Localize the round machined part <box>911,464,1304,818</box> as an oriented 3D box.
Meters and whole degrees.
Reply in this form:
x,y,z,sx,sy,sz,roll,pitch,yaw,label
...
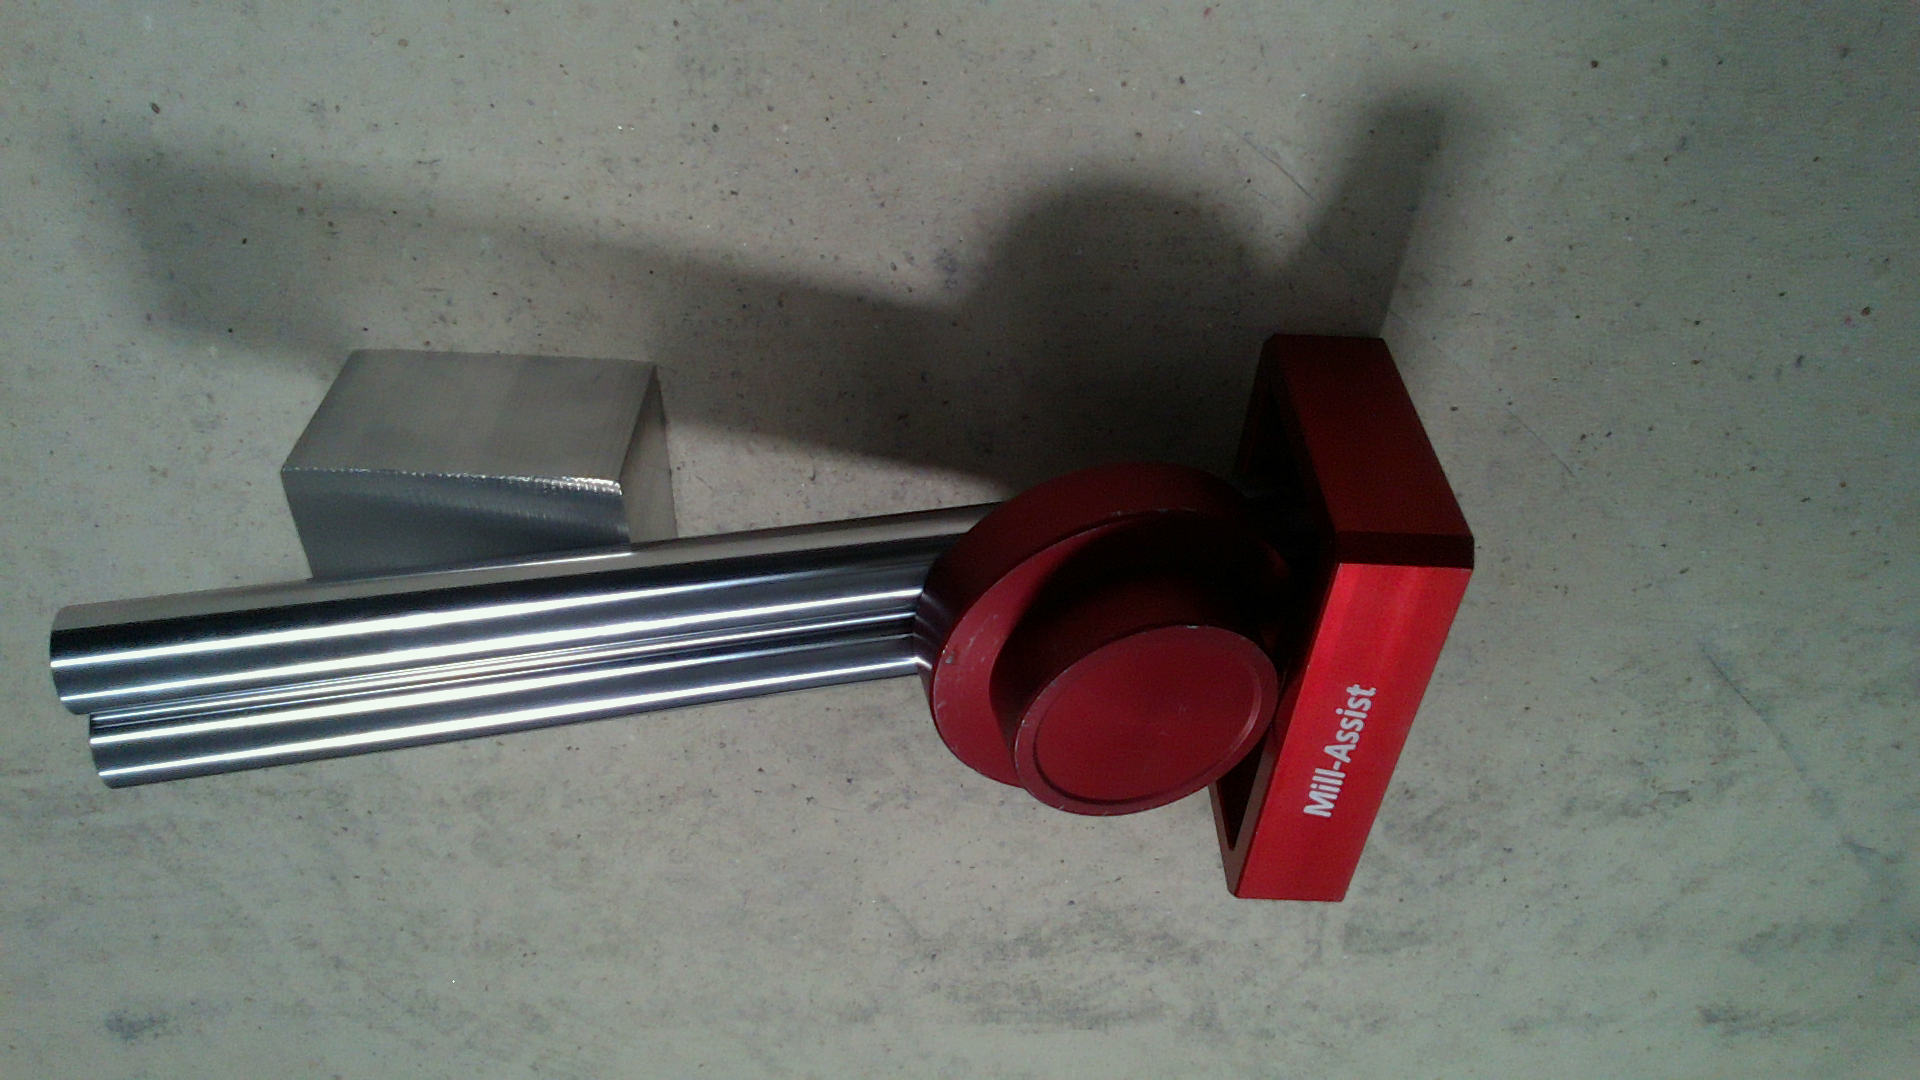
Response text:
x,y,z,sx,sy,sz,roll,pitch,yaw,label
0.039,0.032,0.343,0.098,0.042,0.098,-7,133,-8,round machined part

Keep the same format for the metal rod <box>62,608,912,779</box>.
x,y,z,sx,sy,sz,roll,pitch,yaw,label
-0.060,0.029,0.356,0.300,0.025,0.025,-6,131,-12,metal rod

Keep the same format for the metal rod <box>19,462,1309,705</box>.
x,y,z,sx,sy,sz,roll,pitch,yaw,label
-0.059,0.008,0.338,0.300,0.025,0.025,-6,131,-11,metal rod

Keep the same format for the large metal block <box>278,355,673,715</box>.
x,y,z,sx,sy,sz,roll,pitch,yaw,label
-0.122,0.000,0.369,0.080,0.050,0.080,2,130,-2,large metal block

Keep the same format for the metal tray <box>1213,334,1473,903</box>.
x,y,z,sx,sy,sz,roll,pitch,yaw,label
0.092,0.023,0.367,0.030,0.090,0.130,3,130,-2,metal tray
